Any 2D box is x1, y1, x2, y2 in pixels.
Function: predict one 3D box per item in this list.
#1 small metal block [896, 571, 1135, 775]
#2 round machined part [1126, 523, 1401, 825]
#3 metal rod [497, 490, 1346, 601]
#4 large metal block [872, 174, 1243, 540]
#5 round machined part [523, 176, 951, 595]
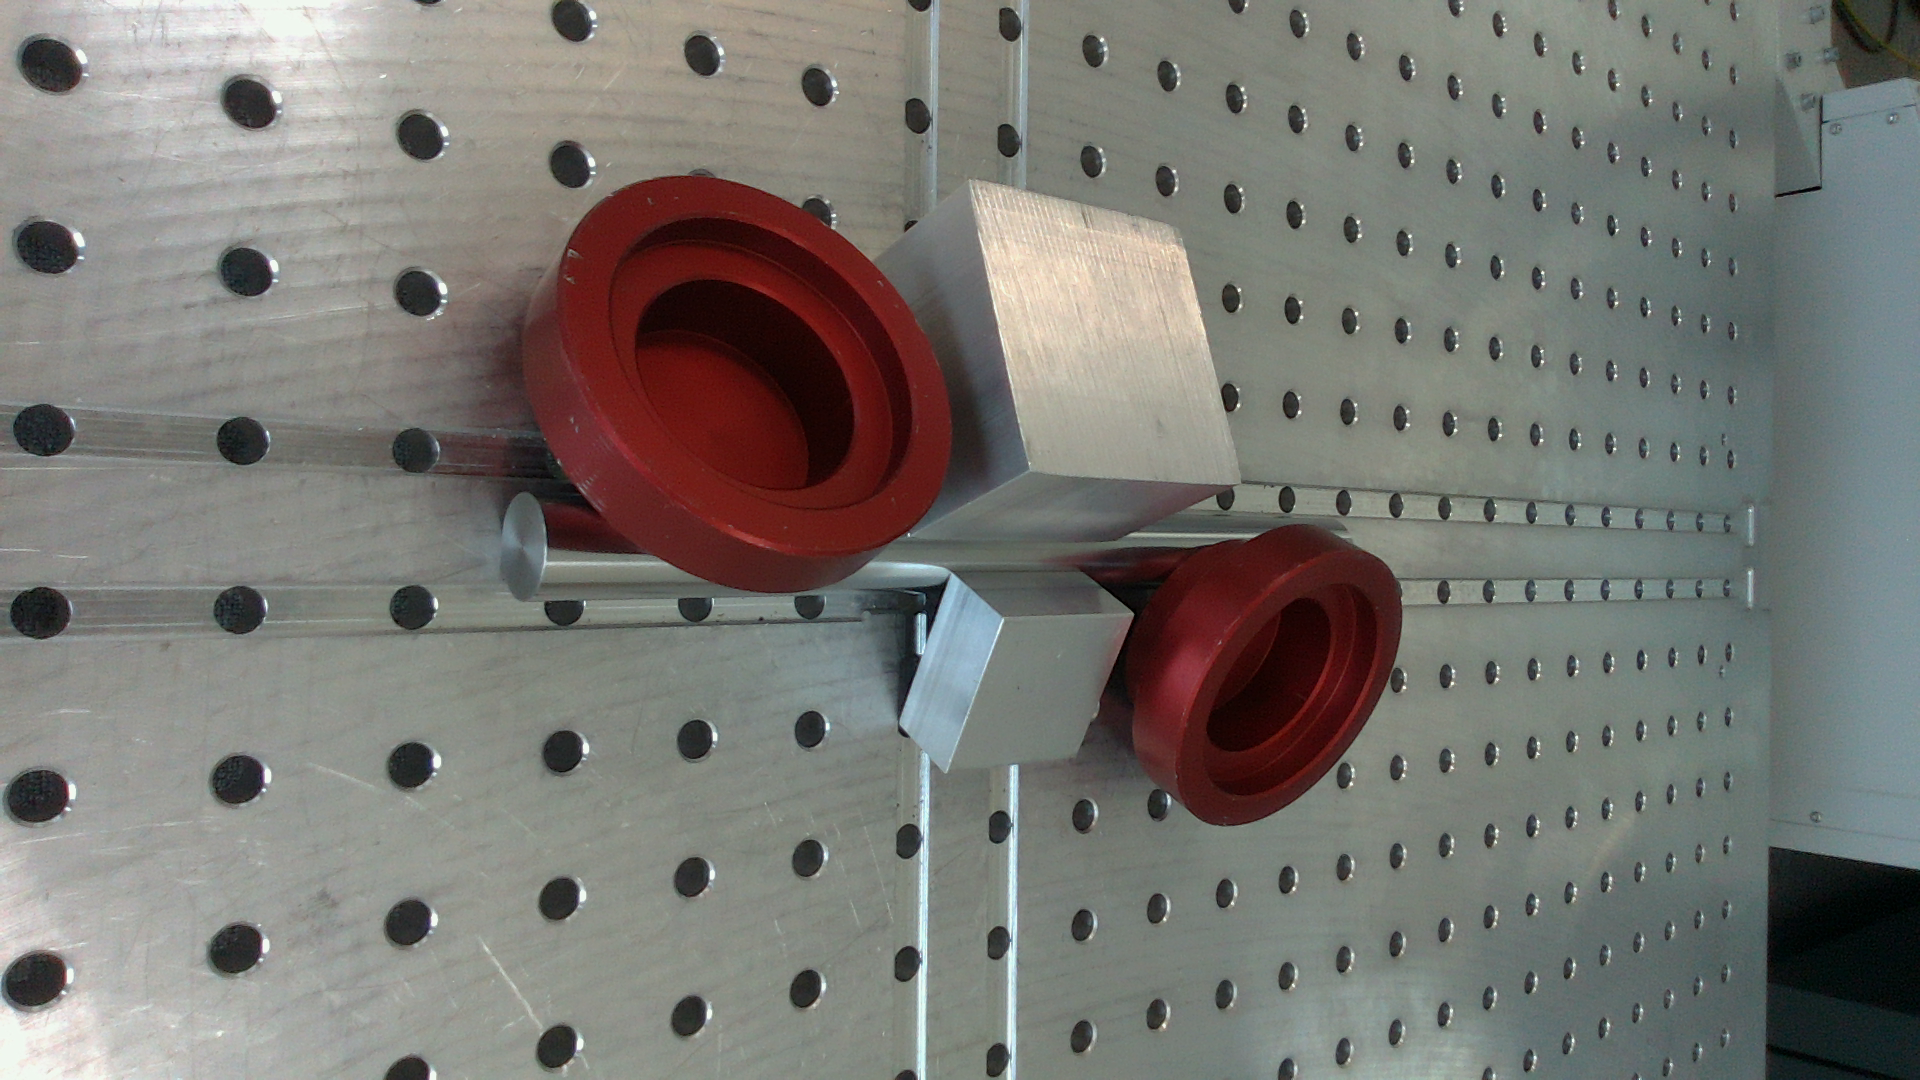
[{"bbox_3d":[0.016,0.037,0.392,0.050,0.025,0.050,1,118,-40],"label":"small metal block"},{"bbox_3d":[0.092,0.039,0.442,0.098,0.042,0.098,-20,127,-29],"label":"round machined part"},{"bbox_3d":[0.016,0.003,0.406,0.301,0.025,0.025,1,90,-40],"label":"metal rod"},{"bbox_3d":[0.024,-0.046,0.381,0.080,0.050,0.080,1,71,-40],"label":"large metal block"},{"bbox_3d":[-0.054,-0.032,0.319,0.098,0.042,0.098,21,52,-29],"label":"round machined part"}]
